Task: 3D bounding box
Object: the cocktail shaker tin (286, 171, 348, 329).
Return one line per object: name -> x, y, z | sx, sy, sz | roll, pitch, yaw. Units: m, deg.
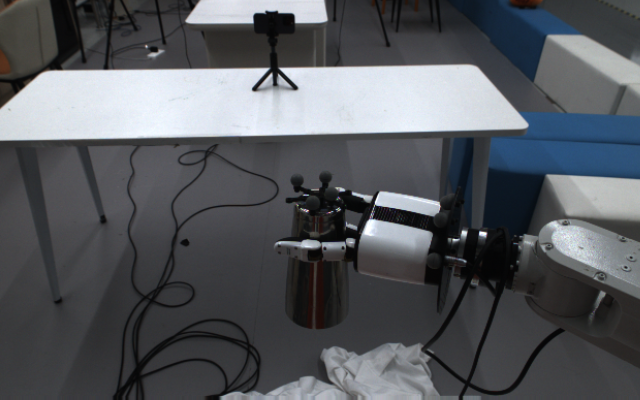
cocktail shaker tin -> 0.000, 0.076, 0.662 | 0.093, 0.170, 0.093 | 1, 27, -1
